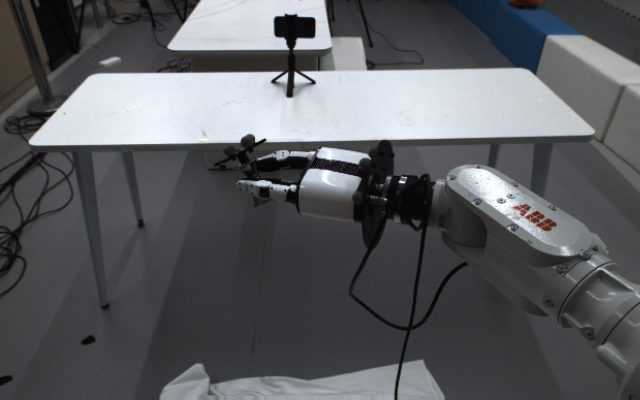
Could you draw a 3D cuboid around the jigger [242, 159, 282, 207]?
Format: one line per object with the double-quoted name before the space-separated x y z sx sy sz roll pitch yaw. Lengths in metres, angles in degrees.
"jigger" -0.097 -0.031 0.758 0.043 0.071 0.043 -27 13 7
